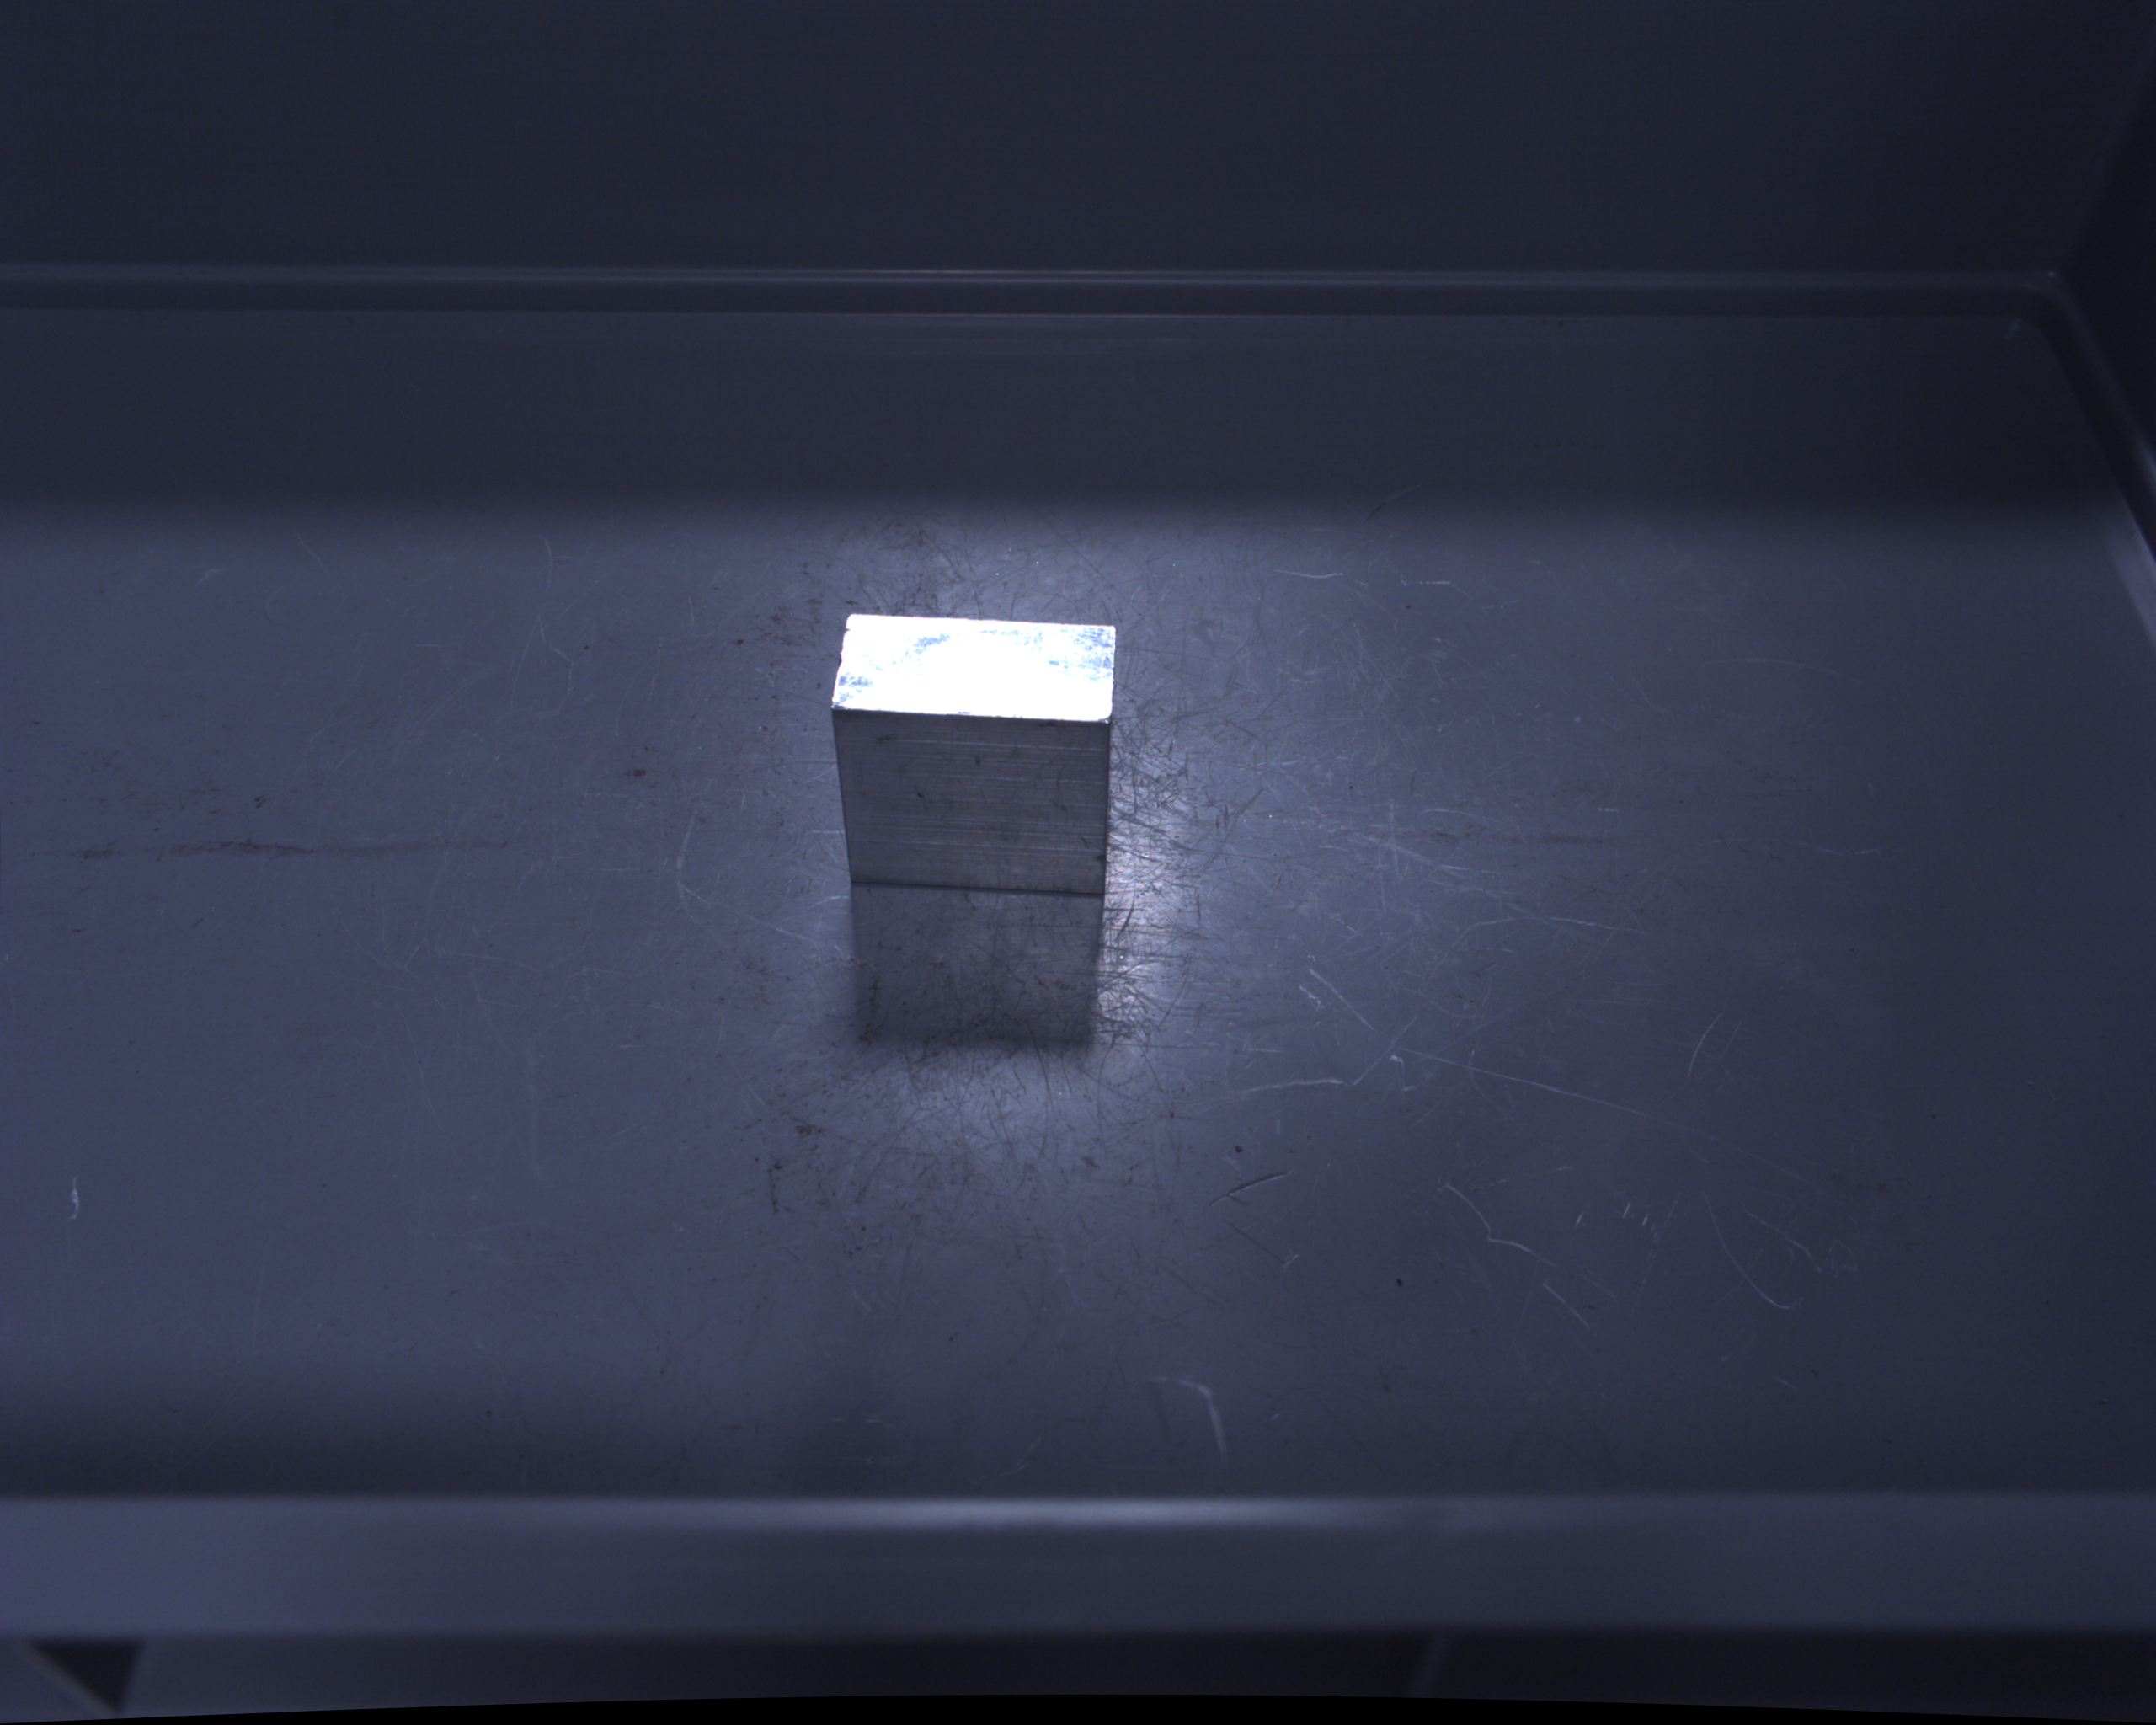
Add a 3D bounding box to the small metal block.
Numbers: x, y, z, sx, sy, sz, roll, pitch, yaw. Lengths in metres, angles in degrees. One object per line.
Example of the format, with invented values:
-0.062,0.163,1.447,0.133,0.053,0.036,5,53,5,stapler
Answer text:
-0.019,-0.020,0.401,0.050,0.050,0.025,2,50,2,small metal block
